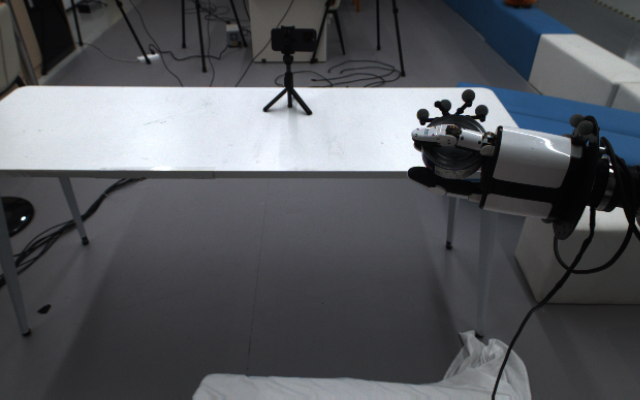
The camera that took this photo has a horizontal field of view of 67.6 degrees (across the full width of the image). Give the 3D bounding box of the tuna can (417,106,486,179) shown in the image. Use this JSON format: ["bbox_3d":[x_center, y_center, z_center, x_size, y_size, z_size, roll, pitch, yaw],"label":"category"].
[{"bbox_3d":[0.181,-0.073,0.657,0.085,0.034,0.085,-6,61,10],"label":"tuna can"}]
